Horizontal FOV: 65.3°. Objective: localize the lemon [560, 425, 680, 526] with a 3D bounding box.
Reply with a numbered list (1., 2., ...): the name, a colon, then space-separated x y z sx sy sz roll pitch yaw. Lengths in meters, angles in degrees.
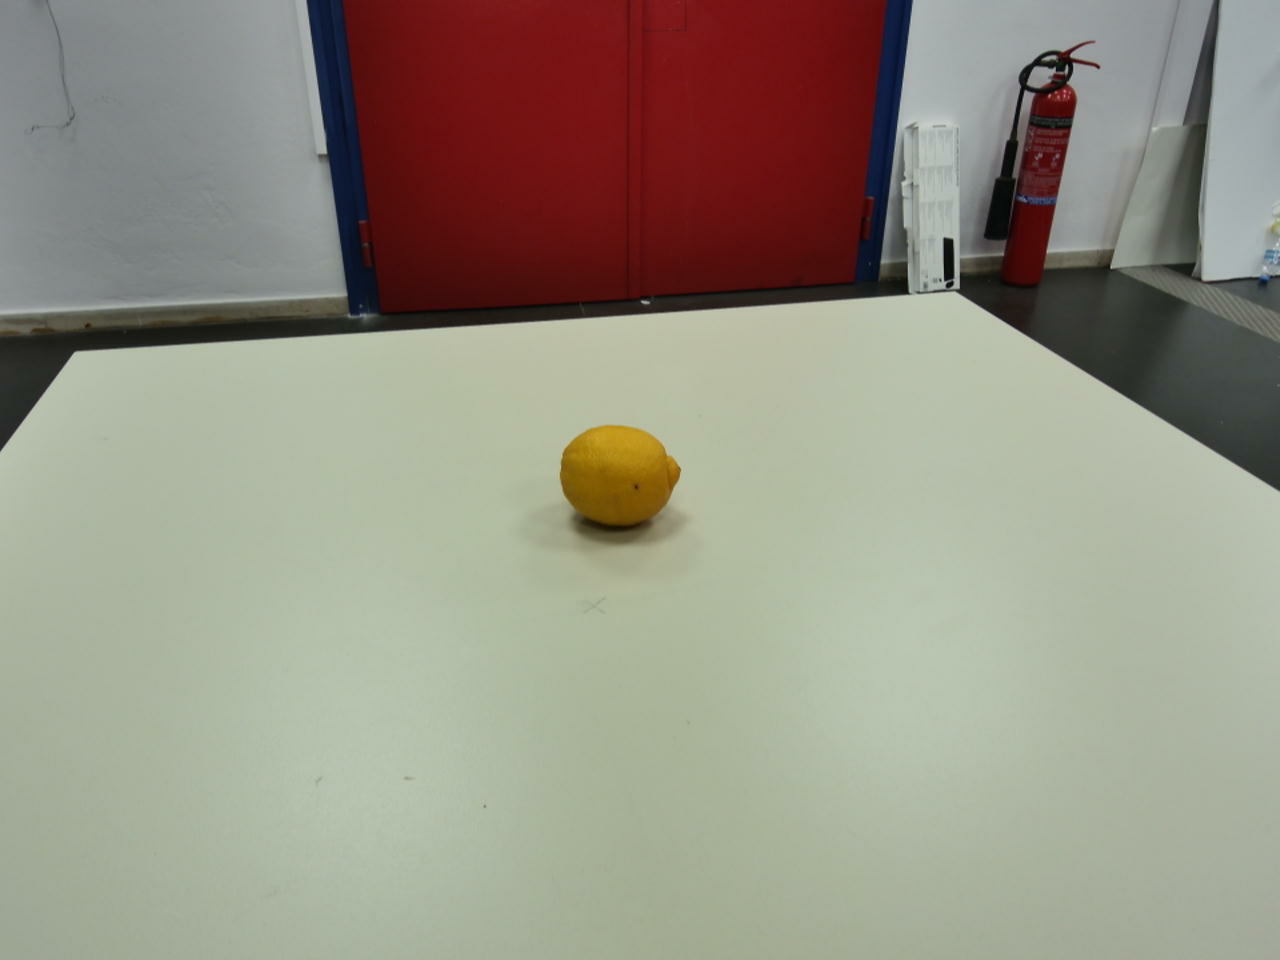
1. lemon: -0.014 -0.002 0.594 0.067 0.059 0.060 15 30 26
